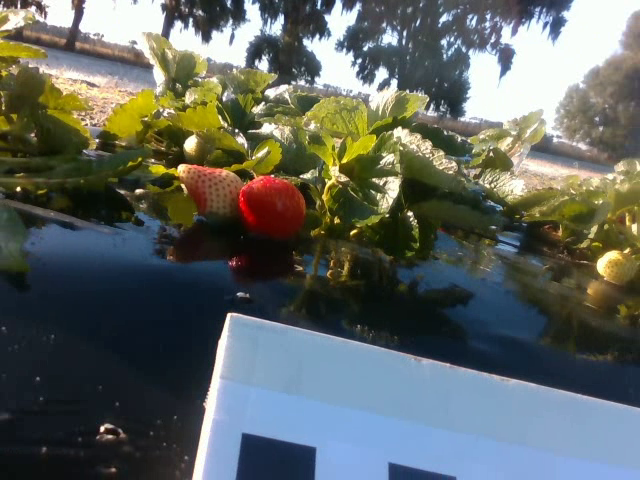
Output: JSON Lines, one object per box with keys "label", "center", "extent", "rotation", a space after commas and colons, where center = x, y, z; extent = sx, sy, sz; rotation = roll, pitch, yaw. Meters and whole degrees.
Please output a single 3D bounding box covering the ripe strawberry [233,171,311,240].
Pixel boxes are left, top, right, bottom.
{"label": "ripe strawberry", "center": [-0.026, -0.023, 0.310], "extent": [0.040, 0.038, 0.056], "rotation": [-15, -31, 3]}
